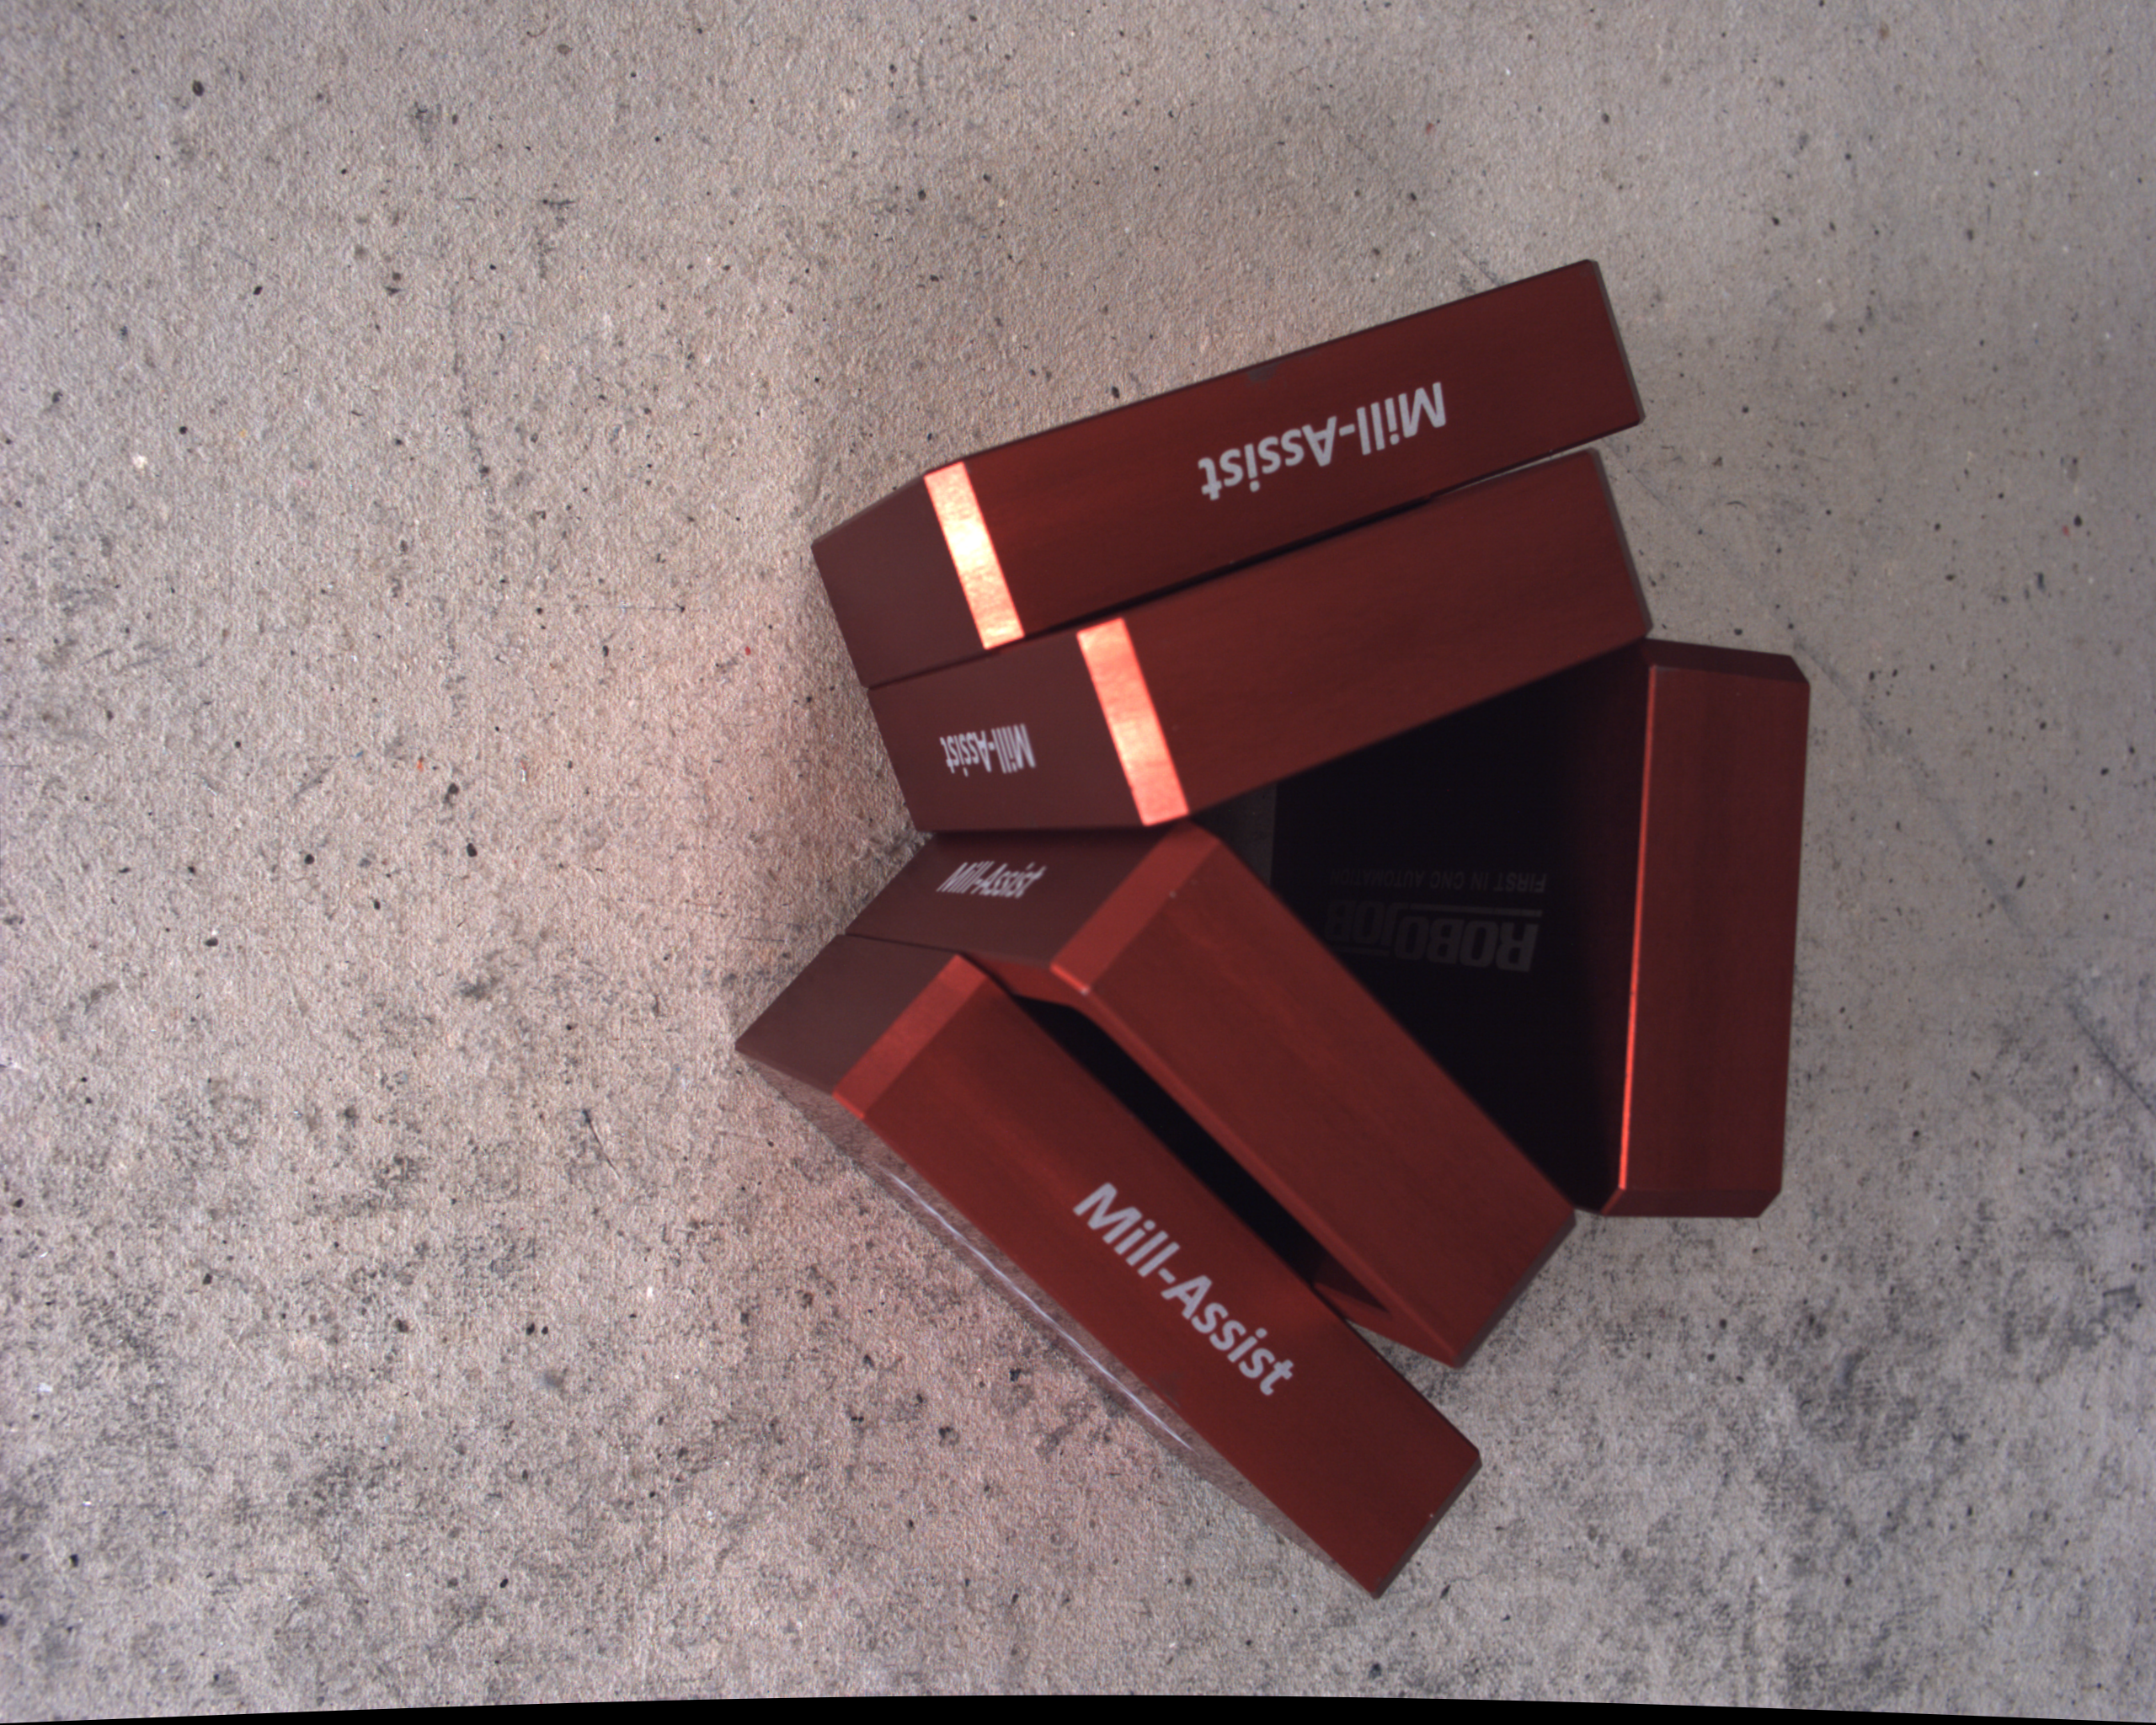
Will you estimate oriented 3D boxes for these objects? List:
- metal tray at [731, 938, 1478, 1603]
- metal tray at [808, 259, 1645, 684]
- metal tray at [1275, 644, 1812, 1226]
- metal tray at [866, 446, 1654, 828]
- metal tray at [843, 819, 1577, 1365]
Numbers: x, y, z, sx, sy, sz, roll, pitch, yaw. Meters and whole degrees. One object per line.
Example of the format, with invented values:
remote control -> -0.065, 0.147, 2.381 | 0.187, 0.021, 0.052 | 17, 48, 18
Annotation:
metal tray -> 0.002, 0.069, 0.375 | 0.130, 0.090, 0.030 | 45, 76, -15
metal tray -> 0.025, -0.070, 0.384 | 0.131, 0.090, 0.030 | -21, 97, -19
metal tray -> 0.076, 0.011, 0.382 | 0.030, 0.130, 0.089 | 5, 89, -20
metal tray -> 0.024, -0.035, 0.362 | 0.091, 0.130, 0.030 | -21, 98, -19
metal tray -> 0.016, 0.034, 0.360 | 0.090, 0.130, 0.030 | 45, 76, -15
